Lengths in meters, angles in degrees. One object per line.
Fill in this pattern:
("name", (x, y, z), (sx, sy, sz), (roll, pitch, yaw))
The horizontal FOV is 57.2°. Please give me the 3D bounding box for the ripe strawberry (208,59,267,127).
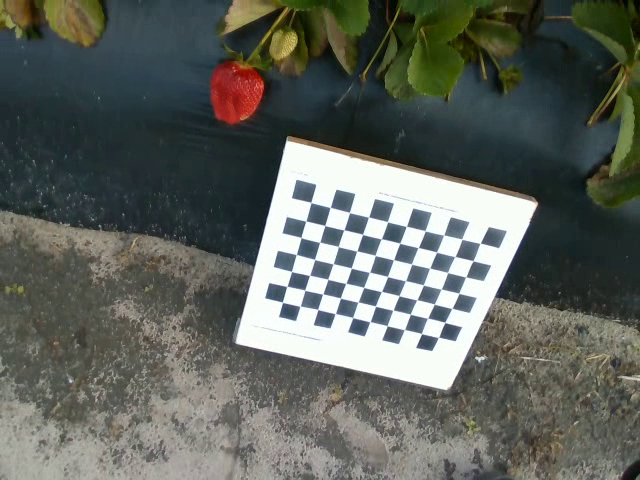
("ripe strawberry", (-0.099, -0.165, 0.653), (0.067, 0.075, 0.039), (18, 22, -5))
